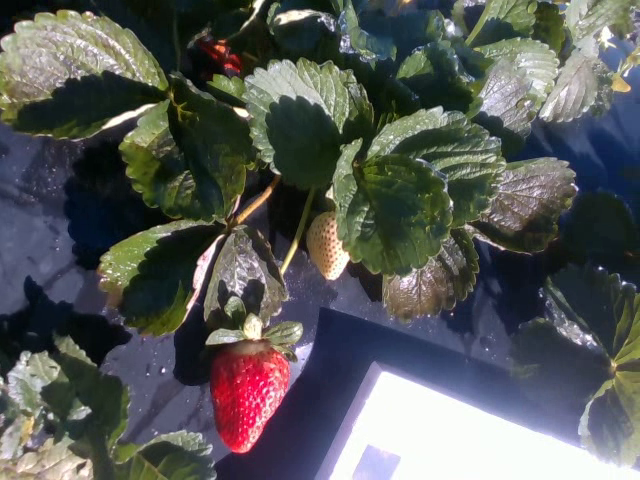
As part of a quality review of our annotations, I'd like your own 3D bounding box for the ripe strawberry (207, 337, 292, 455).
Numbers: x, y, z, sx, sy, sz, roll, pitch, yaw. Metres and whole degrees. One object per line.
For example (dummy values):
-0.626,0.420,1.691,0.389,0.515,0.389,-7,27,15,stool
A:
-0.040,0.087,0.366,0.048,0.068,0.040,6,1,-11,ripe strawberry
